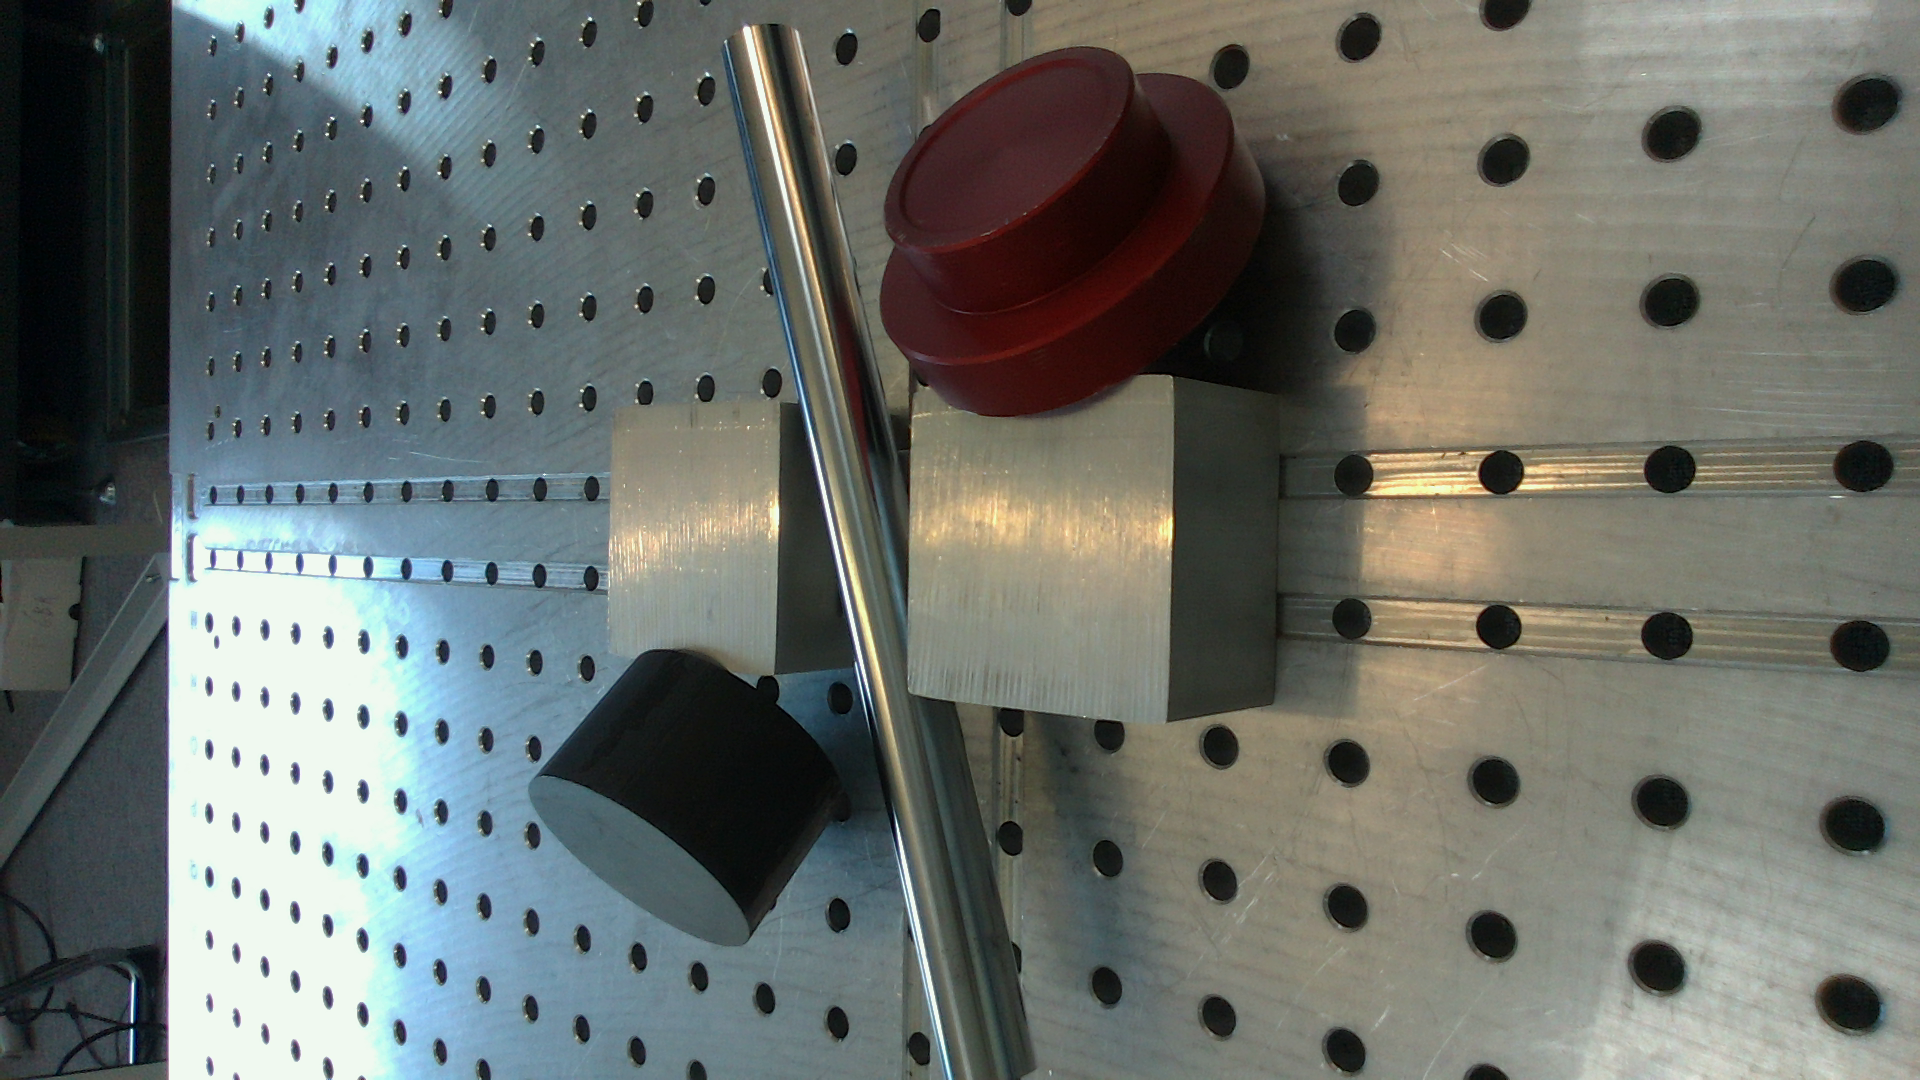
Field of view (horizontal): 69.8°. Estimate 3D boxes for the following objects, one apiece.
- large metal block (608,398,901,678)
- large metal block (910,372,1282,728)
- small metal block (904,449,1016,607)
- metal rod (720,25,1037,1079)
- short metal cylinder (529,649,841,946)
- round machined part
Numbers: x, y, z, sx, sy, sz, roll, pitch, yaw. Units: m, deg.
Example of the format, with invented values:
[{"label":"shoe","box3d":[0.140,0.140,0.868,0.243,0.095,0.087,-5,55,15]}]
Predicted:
[{"label":"large metal block","box3d":[-0.066,-0.002,0.438,0.080,0.050,0.080,3,92,40]},{"label":"large metal block","box3d":[0.034,0.002,0.354,0.080,0.050,0.080,1,91,40]},{"label":"small metal block","box3d":[-0.008,-0.001,0.405,0.050,0.025,0.050,1,91,40]},{"label":"metal rod","box3d":[-0.026,-0.004,0.385,0.025,0.025,0.300,-22,76,38]},{"label":"short metal cylinder","box3d":[-0.084,0.079,0.424,0.080,0.050,0.080,23,145,18]},{"label":"round machined part","box3d":[0.020,-0.081,0.337,0.098,0.042,0.098,-22,43,23]}]
